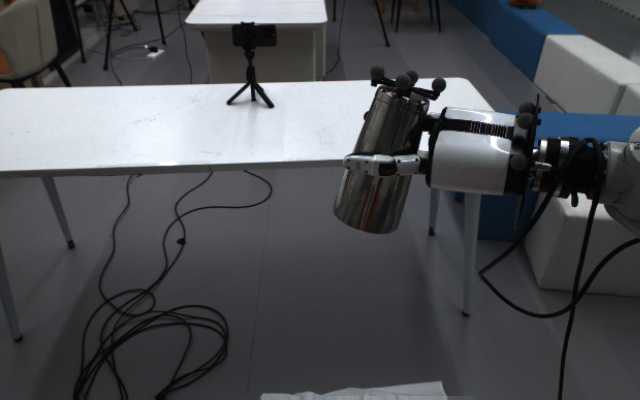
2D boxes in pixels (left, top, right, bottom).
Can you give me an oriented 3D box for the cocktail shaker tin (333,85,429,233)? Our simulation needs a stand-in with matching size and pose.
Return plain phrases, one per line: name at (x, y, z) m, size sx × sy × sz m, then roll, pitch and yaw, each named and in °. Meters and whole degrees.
cocktail shaker tin at (0.083, -0.056, 0.618) m, size 0.093 × 0.170 × 0.093 m, roll 12°, pitch 24°, yaw -5°
